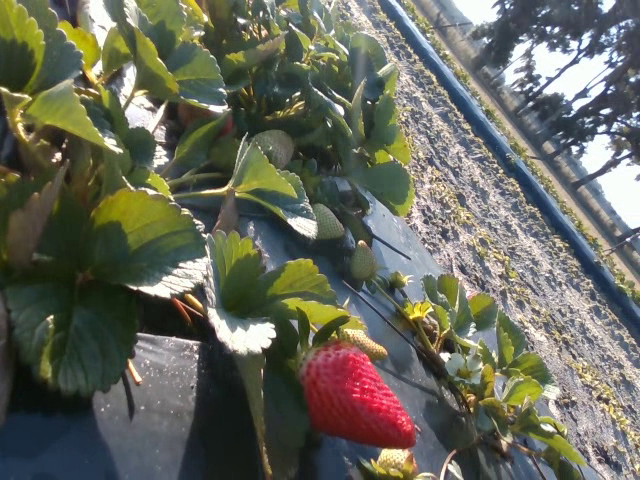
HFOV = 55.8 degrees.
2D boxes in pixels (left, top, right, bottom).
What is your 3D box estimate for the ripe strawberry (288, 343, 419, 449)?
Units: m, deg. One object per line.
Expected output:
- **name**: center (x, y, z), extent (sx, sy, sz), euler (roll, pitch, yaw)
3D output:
- **ripe strawberry**: center (0.018, 0.077, 0.279), extent (0.072, 0.057, 0.055), euler (35, -27, 18)
